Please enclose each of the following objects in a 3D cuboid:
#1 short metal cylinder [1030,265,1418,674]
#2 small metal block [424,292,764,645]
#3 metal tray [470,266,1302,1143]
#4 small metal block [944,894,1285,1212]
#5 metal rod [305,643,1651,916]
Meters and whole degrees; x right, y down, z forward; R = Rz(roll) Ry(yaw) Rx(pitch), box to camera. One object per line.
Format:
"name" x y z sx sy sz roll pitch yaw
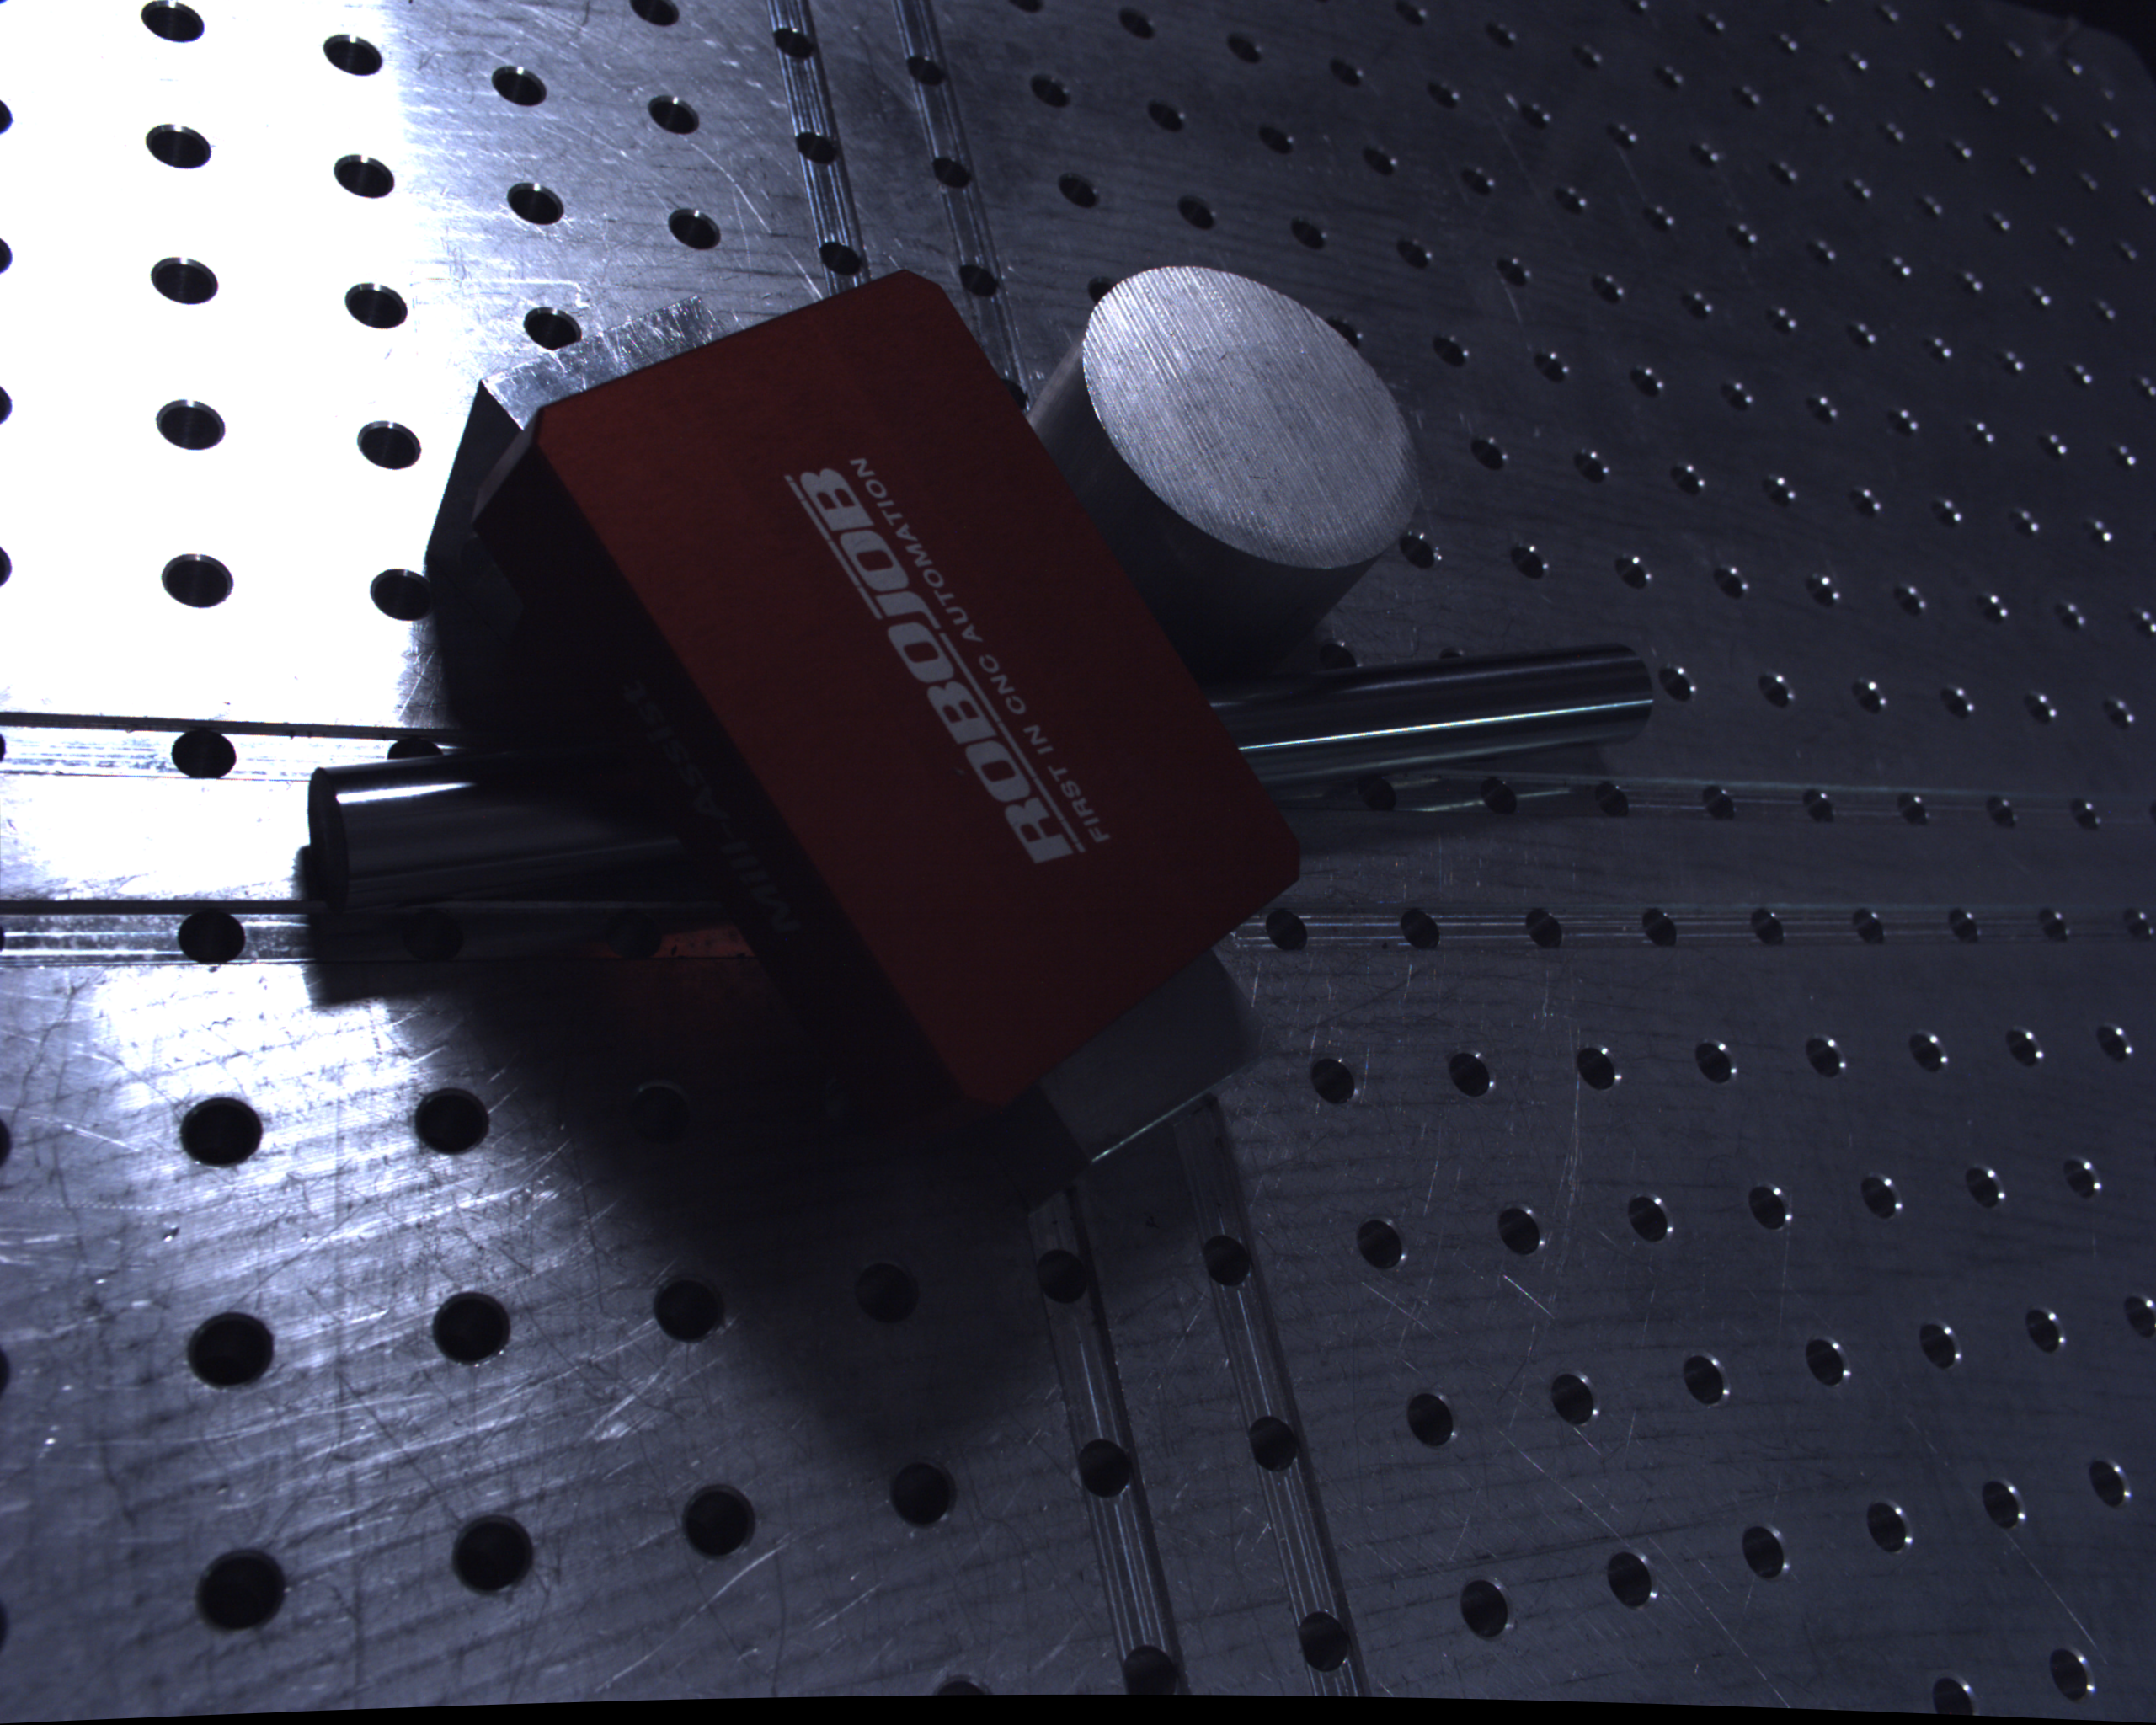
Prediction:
"short metal cylinder" 0.027 -0.083 0.458 0.081 0.050 0.080 14 56 -21
"small metal block" -0.089 -0.073 0.389 0.025 0.050 0.050 49 51 6
"metal tray" -0.029 -0.030 0.359 0.091 0.030 0.130 -35 93 -38
"small metal block" 0.002 0.029 0.391 0.050 0.025 0.050 -26 76 -37
"metal rod" 0.002 -0.022 0.425 0.303 0.025 0.025 -8 66 -32
